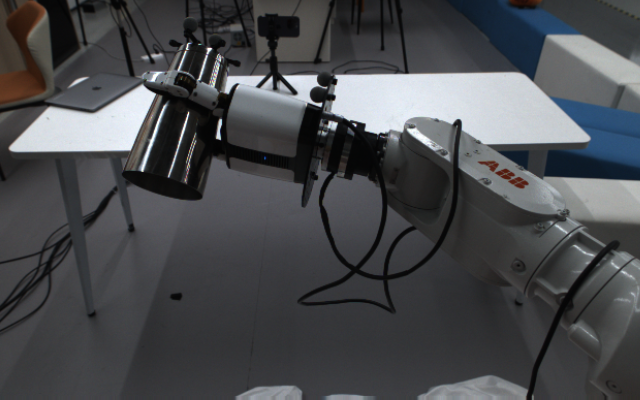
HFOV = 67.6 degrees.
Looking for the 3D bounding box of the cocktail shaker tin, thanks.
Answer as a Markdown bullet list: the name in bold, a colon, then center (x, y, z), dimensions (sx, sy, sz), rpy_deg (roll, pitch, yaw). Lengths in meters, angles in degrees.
- **cocktail shaker tin**: center (-0.162, -0.093, 0.571), dimensions (0.093, 0.093, 0.170), rpy_deg (10, 73, 11)
